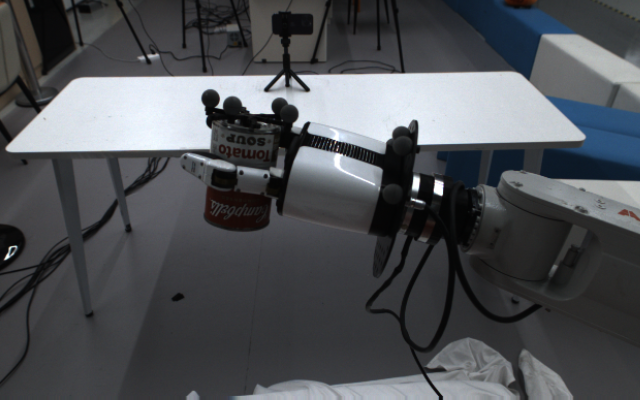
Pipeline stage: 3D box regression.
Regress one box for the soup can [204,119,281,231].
[{"bbox_3d":[-0.076,-0.027,0.482,0.067,0.101,0.067,9,19,-3],"label":"soup can"}]
